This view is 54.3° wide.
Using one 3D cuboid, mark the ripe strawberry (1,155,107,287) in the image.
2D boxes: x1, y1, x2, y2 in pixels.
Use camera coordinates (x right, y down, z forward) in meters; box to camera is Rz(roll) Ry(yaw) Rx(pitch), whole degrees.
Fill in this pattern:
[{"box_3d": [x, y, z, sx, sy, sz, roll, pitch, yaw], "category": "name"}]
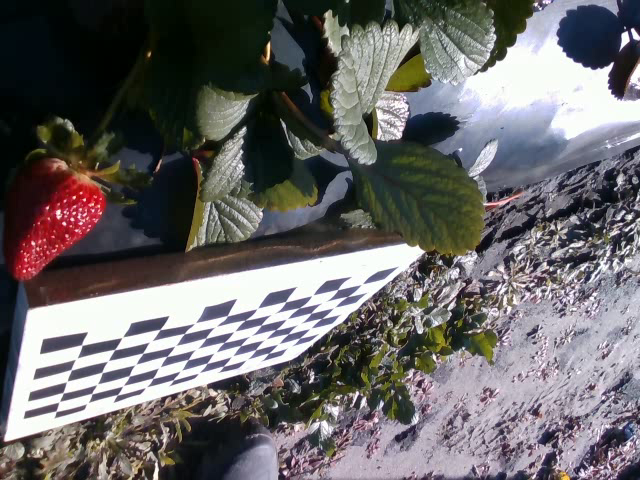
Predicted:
[{"box_3d": [-0.122, -0.009, 0.271, 0.058, 0.062, 0.066, 2, -11, 18], "category": "ripe strawberry"}]
